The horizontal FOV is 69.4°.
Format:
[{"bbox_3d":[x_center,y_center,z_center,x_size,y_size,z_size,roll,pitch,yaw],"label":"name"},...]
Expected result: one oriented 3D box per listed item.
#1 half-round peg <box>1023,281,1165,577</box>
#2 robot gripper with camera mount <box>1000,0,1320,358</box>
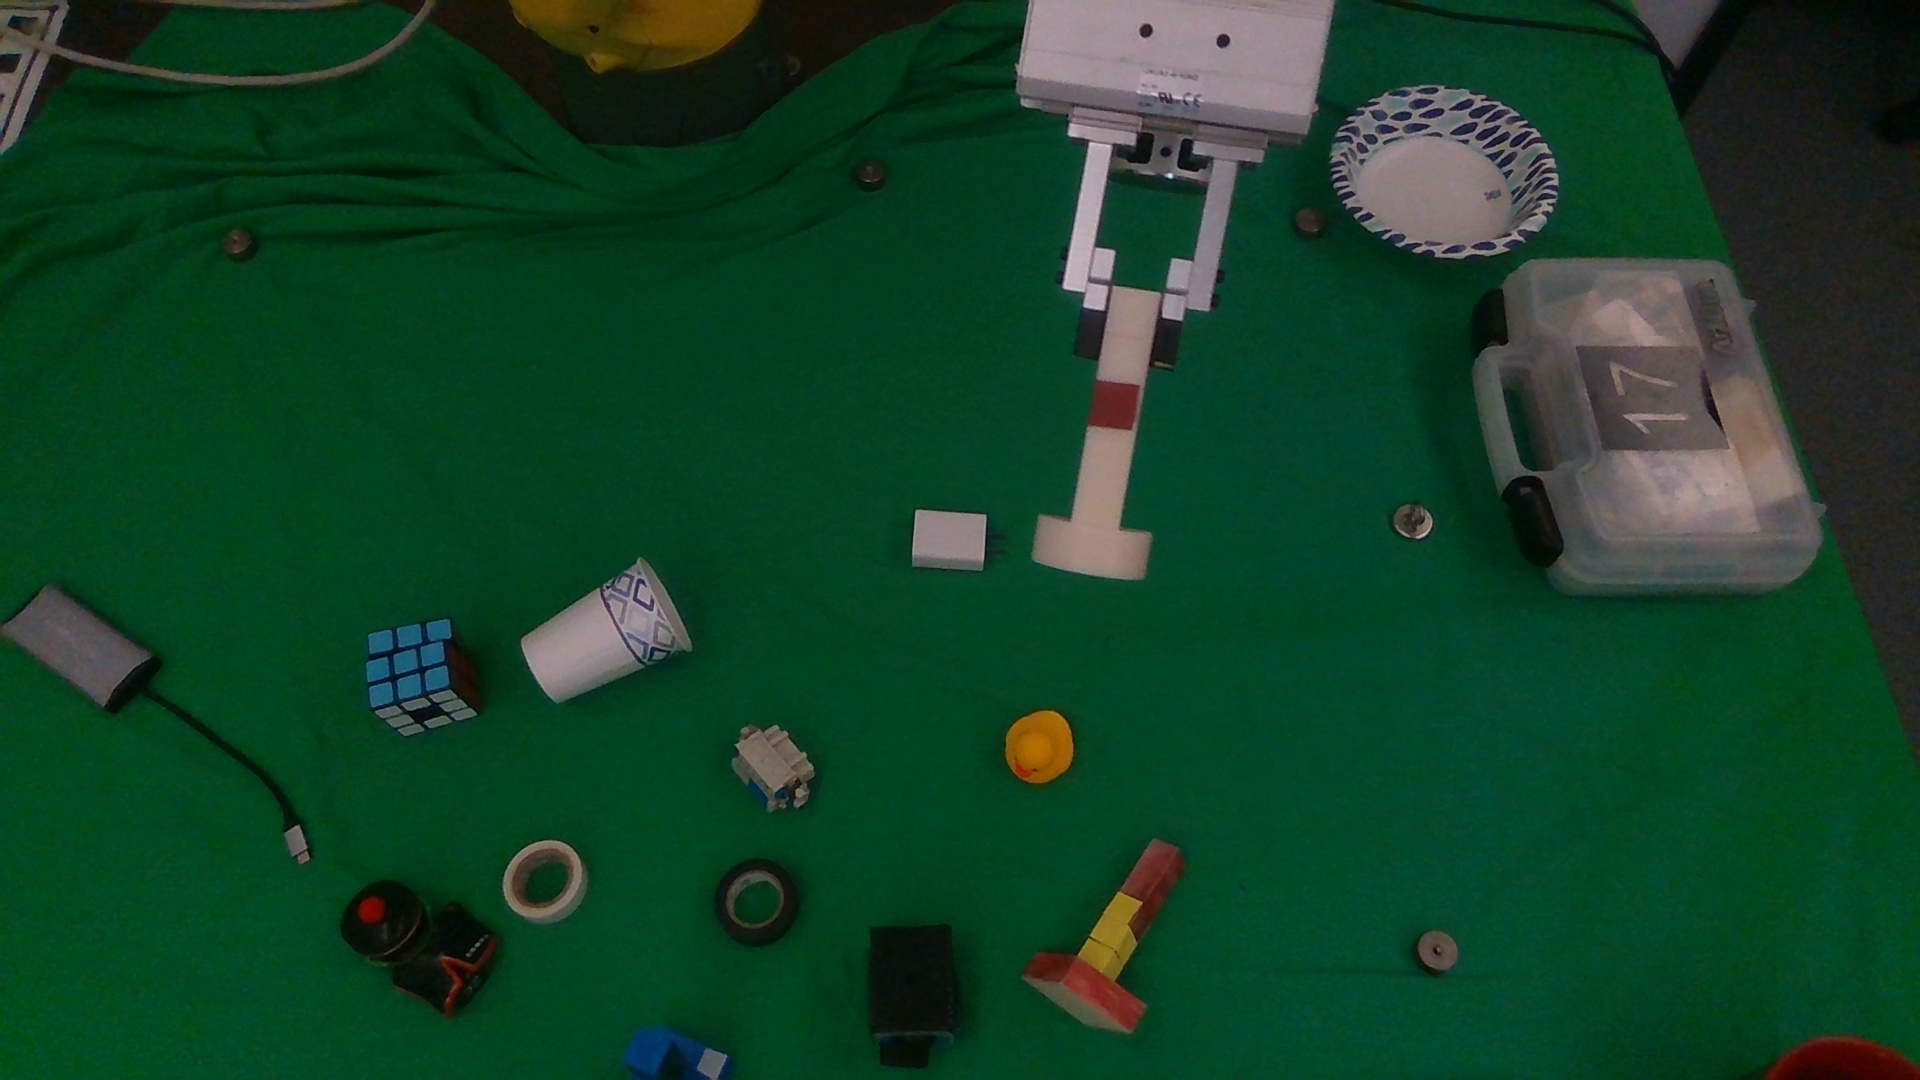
[{"bbox_3d":[0.063,-0.047,0.580,0.054,0.031,0.122,10,94,-4],"label":"half-round peg"},{"bbox_3d":[0.082,-0.165,0.628,0.119,0.193,0.158,9,98,6],"label":"robot gripper with camera mount"}]
